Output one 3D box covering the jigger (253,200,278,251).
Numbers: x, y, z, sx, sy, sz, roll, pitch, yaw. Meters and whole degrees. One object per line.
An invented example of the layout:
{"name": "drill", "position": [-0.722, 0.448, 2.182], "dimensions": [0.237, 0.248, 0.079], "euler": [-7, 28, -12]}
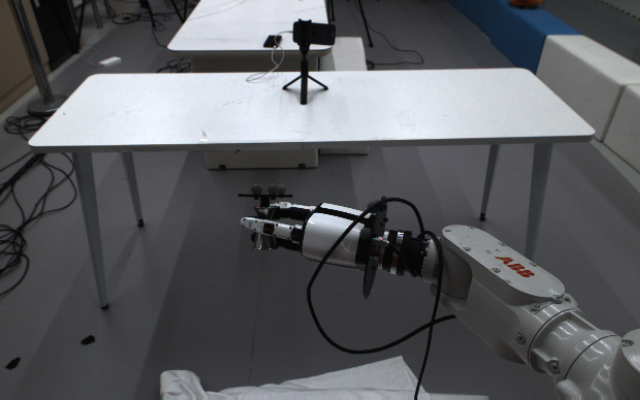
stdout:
{"name": "jigger", "position": [-0.088, 0.044, 0.780], "dimensions": [0.043, 0.071, 0.043], "euler": [0, 2, 0]}
